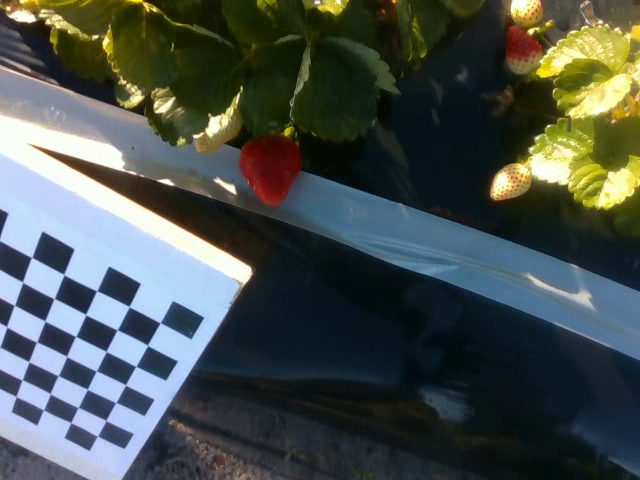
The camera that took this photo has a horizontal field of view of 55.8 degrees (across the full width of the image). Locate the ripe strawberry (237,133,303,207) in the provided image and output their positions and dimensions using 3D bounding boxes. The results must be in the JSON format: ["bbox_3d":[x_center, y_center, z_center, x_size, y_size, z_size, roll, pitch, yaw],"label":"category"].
[{"bbox_3d":[-0.033,-0.047,0.397,0.045,0.064,0.048,-29,-41,28],"label":"ripe strawberry"}]
